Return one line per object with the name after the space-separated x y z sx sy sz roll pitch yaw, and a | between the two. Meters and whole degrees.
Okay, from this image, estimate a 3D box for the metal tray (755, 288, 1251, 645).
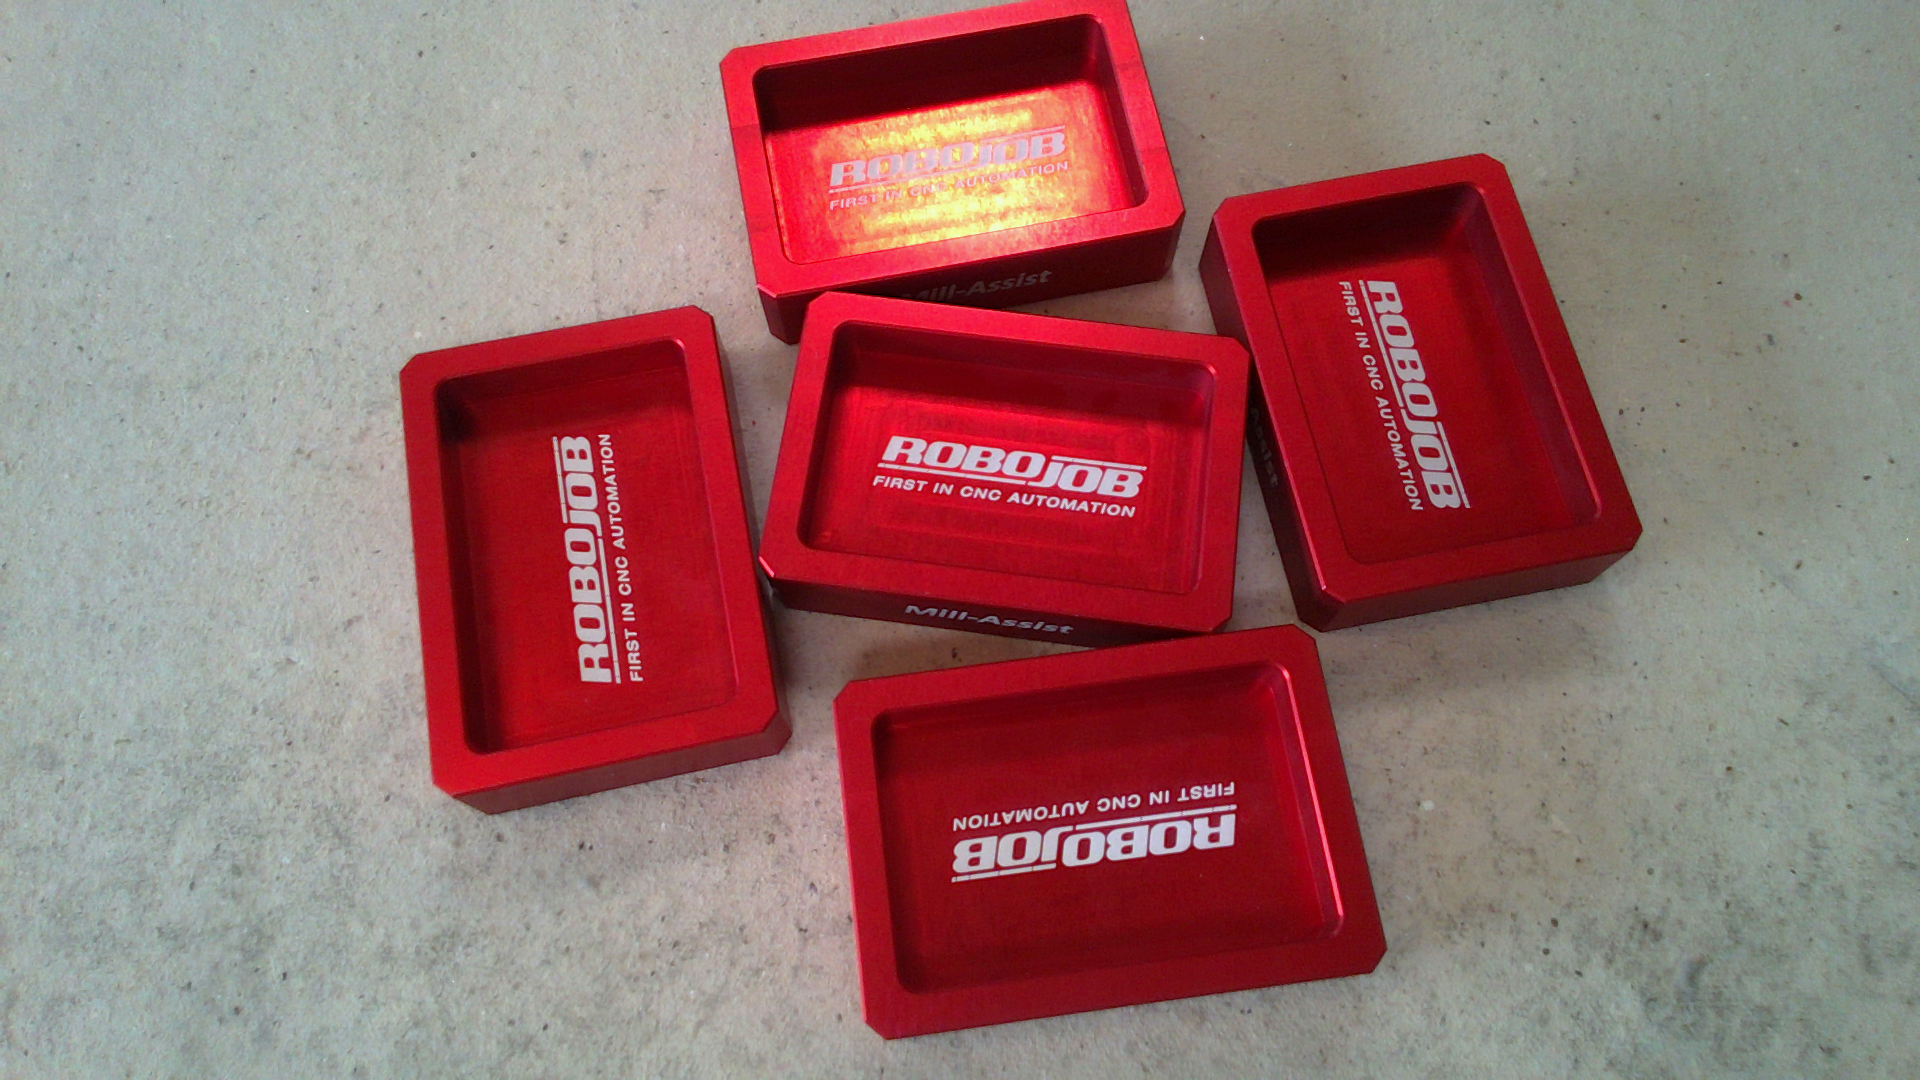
0.014 -0.020 0.399 0.130 0.030 0.090 7 72 3 | metal tray

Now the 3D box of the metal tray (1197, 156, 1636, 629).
0.131 -0.045 0.409 0.090 0.030 0.130 -10 71 -3 | metal tray

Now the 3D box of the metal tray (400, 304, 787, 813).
-0.104 0.004 0.390 0.090 0.030 0.130 -11 71 -4 | metal tray

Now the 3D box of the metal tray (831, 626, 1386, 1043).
0.036 0.077 0.364 0.130 0.030 0.090 -7 70 -2 | metal tray

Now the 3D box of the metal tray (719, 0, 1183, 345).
-0.004 -0.118 0.436 0.130 0.030 0.090 -11 70 -3 | metal tray
